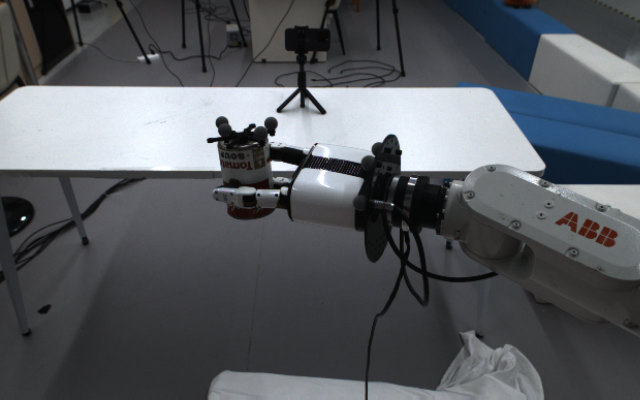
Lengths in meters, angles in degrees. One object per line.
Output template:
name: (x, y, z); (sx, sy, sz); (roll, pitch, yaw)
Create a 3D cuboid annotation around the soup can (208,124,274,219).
soup can: (-0.096, -0.033, 0.650); (0.067, 0.101, 0.067); (-3, 27, 2)
